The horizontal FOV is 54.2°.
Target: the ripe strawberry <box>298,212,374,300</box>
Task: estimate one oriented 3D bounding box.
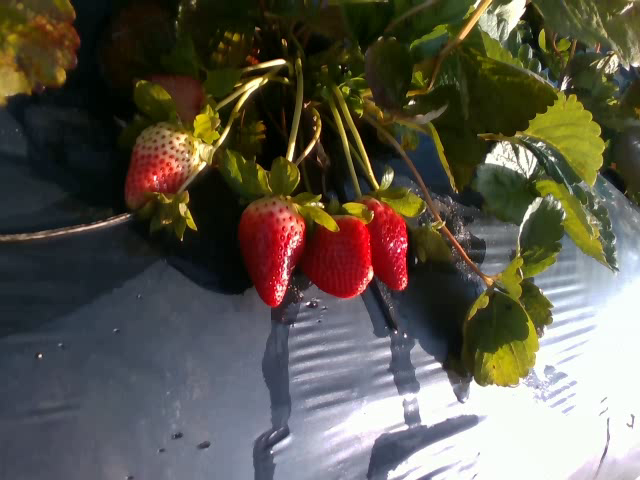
[{"bbox_3d":[0.010,0.007,0.253,0.031,0.036,0.039,17,27,-39],"label":"ripe strawberry"}]

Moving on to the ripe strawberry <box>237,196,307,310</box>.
[{"bbox_3d":[-0.017,0.005,0.241,0.032,0.045,0.023,3,-5,-39],"label":"ripe strawberry"}]

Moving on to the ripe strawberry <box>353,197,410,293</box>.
[{"bbox_3d":[0.029,0.007,0.274,0.035,0.041,0.033,-2,-38,-38],"label":"ripe strawberry"}]
